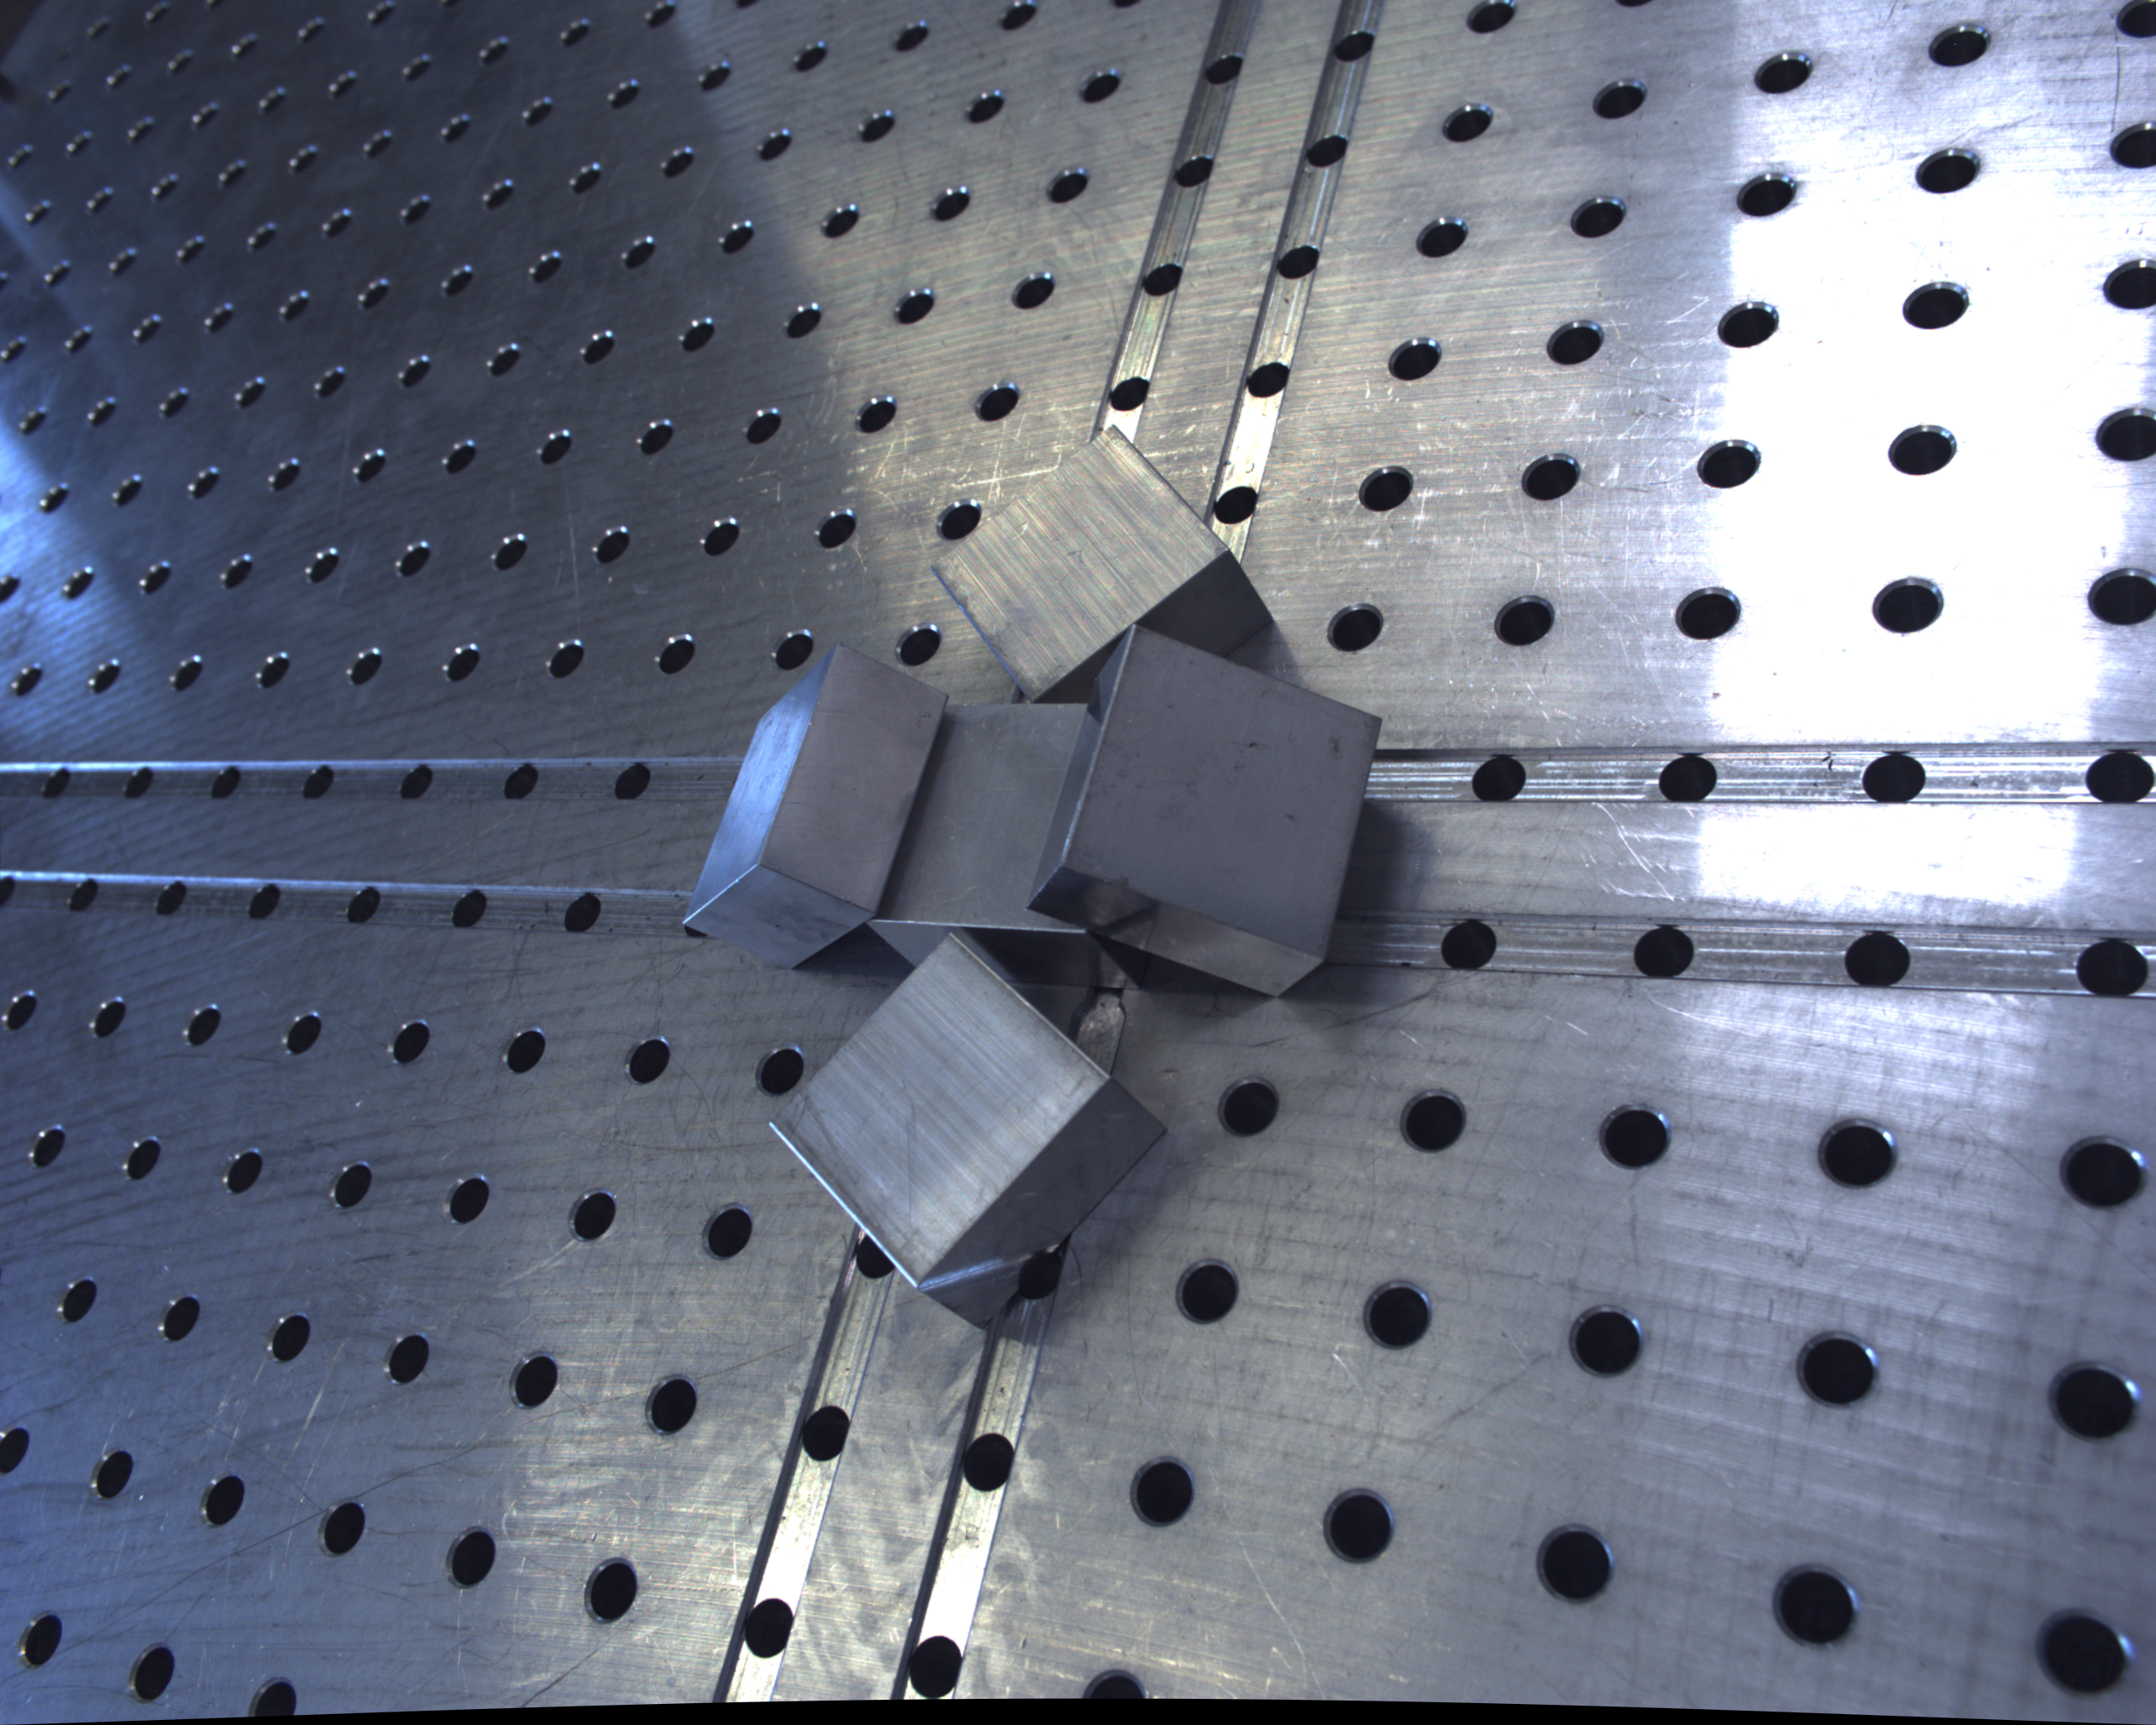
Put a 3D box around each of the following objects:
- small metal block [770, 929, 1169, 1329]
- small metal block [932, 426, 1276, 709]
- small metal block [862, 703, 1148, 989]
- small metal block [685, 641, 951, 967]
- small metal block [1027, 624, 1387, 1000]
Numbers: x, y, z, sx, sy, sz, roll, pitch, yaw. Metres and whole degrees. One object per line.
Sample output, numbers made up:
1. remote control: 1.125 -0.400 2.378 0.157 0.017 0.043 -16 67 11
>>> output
1. small metal block: -0.021 0.049 0.389 0.050 0.025 0.050 -47 50 -4
2. small metal block: 0.005 -0.057 0.441 0.050 0.025 0.050 -37 50 2
3. small metal block: -0.009 -0.004 0.415 0.050 0.025 0.050 2 62 29
4. small metal block: -0.054 -0.011 0.428 0.050 0.025 0.050 -29 41 59
5. small metal block: 0.024 -0.009 0.384 0.050 0.025 0.050 20 66 -8
